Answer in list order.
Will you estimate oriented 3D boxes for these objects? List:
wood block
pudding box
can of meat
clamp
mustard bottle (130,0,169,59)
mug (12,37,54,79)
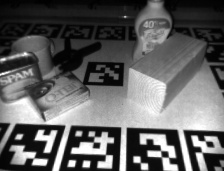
[{"bbox_3d":[0.135,-0.046,0.521,0.089,0.091,0.208,28,49,29],"label":"wood block"},{"bbox_3d":[-0.118,0.013,0.491,0.115,0.039,0.089,-28,51,-28],"label":"pudding box"},{"bbox_3d":[-0.215,-0.023,0.488,0.102,0.084,0.057,-22,49,-20],"label":"can of meat"},{"bbox_3d":[-0.116,-0.100,0.615,0.121,0.037,0.165,16,48,14],"label":"clamp"},{"bbox_3d":[0.097,-0.158,0.556,0.096,0.192,0.058,-4,45,-2],"label":"mustard bottle"},{"bbox_3d":[-0.199,-0.077,0.584,0.092,0.082,0.117,17,48,17],"label":"mug"}]
